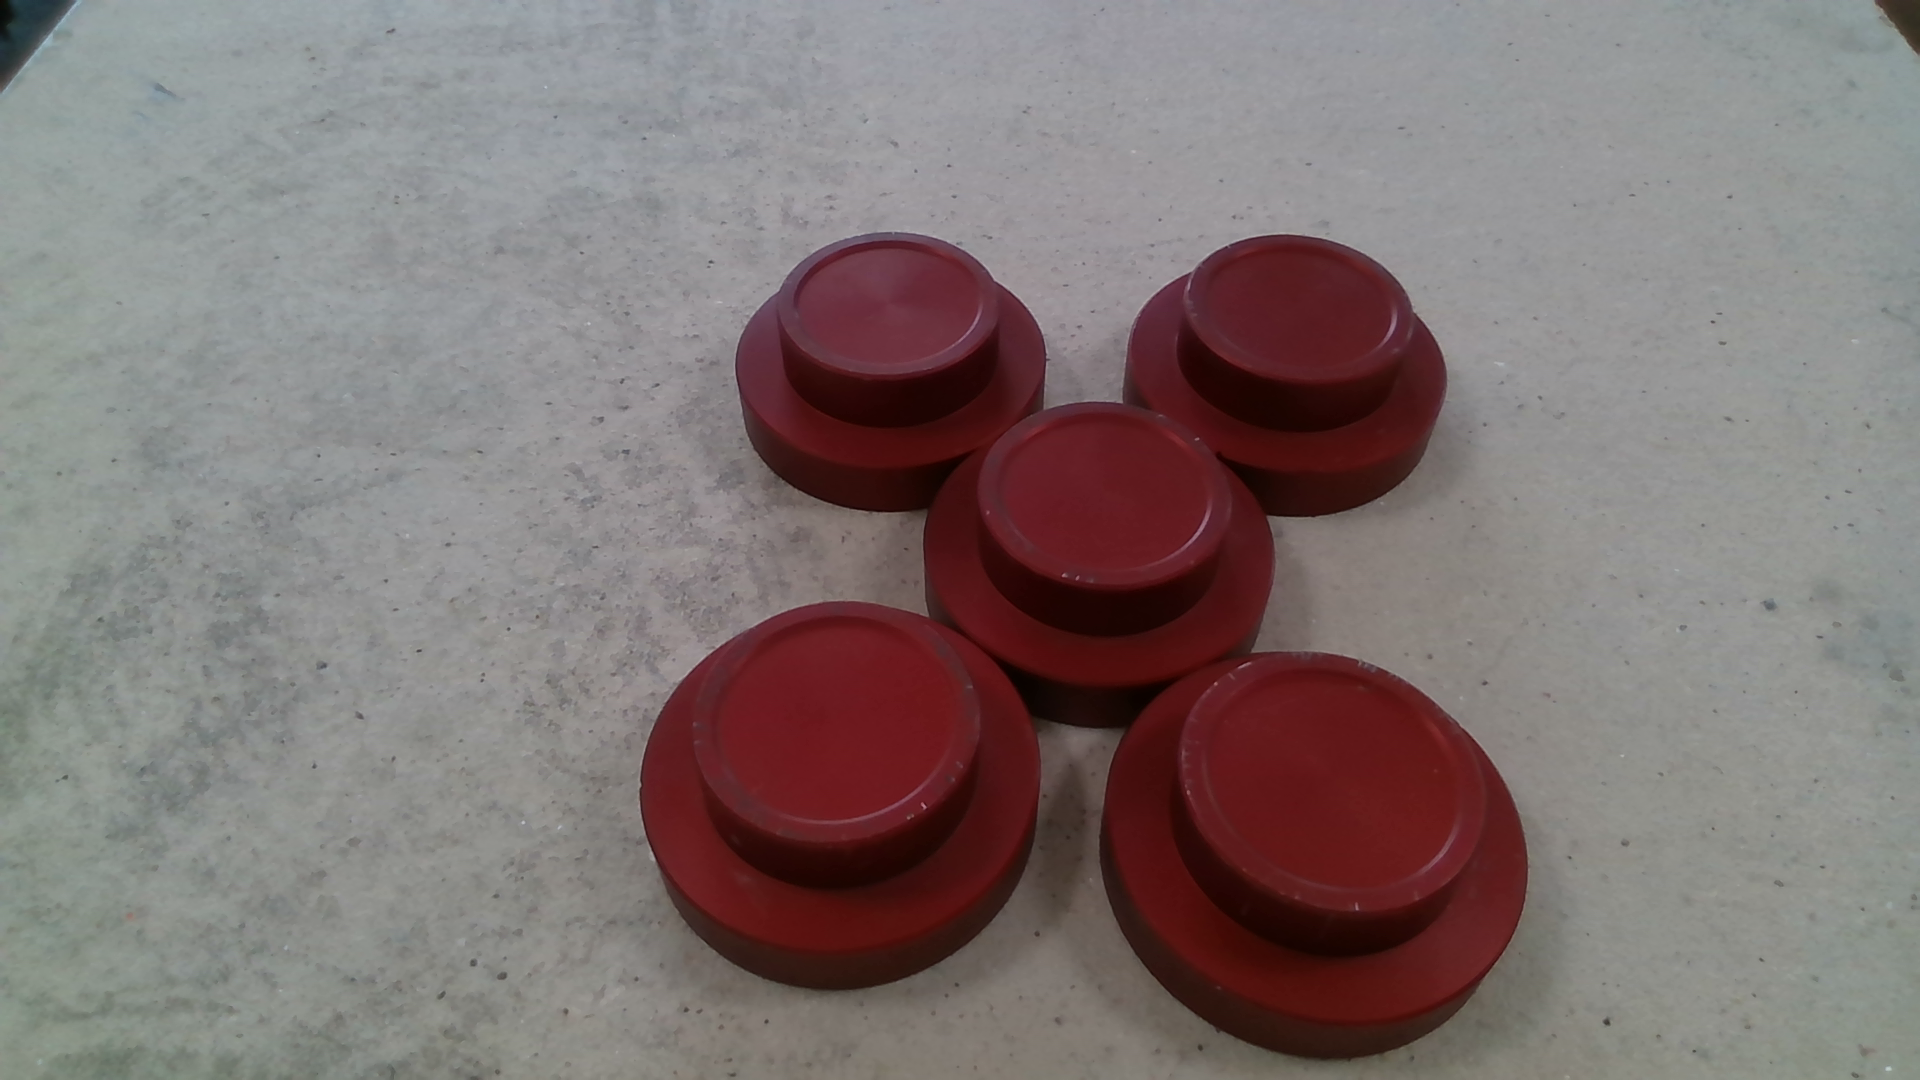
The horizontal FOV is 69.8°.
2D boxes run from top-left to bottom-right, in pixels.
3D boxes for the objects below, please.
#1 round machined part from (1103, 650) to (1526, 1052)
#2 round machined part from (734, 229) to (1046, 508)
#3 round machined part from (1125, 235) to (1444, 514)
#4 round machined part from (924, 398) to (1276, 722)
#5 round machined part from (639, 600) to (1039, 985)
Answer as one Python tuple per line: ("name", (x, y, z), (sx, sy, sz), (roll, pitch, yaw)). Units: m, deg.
("round machined part", (0.084, 0.065, 0.327), (0.098, 0.042, 0.098), (-1, 49, 1))
("round machined part", (-0.022, -0.060, 0.432), (0.098, 0.042, 0.098), (-1, 50, 1))
("round machined part", (0.102, -0.058, 0.431), (0.098, 0.042, 0.098), (0, 50, 0))
("round machined part", (0.039, -0.002, 0.384), (0.098, 0.042, 0.098), (-1, 49, 1))
("round machined part", (-0.030, 0.054, 0.338), (0.098, 0.042, 0.098), (-1, 49, 1))
